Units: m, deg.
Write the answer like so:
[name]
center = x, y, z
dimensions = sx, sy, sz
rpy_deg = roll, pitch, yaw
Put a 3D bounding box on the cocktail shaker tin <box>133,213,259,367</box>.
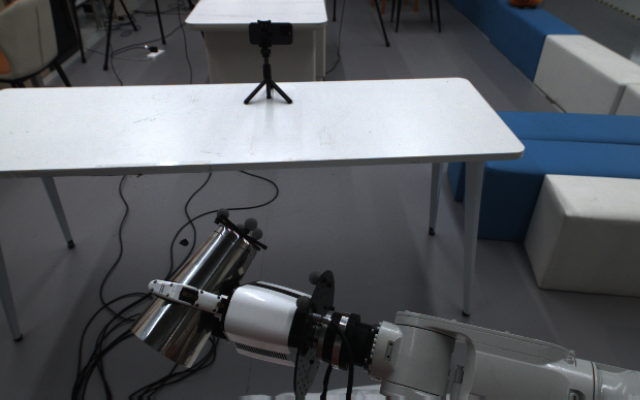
[cocktail shaker tin]
center = -0.159, 0.117, 0.640
dimensions = 0.093, 0.093, 0.170
rpy_deg = 24, 69, 28
